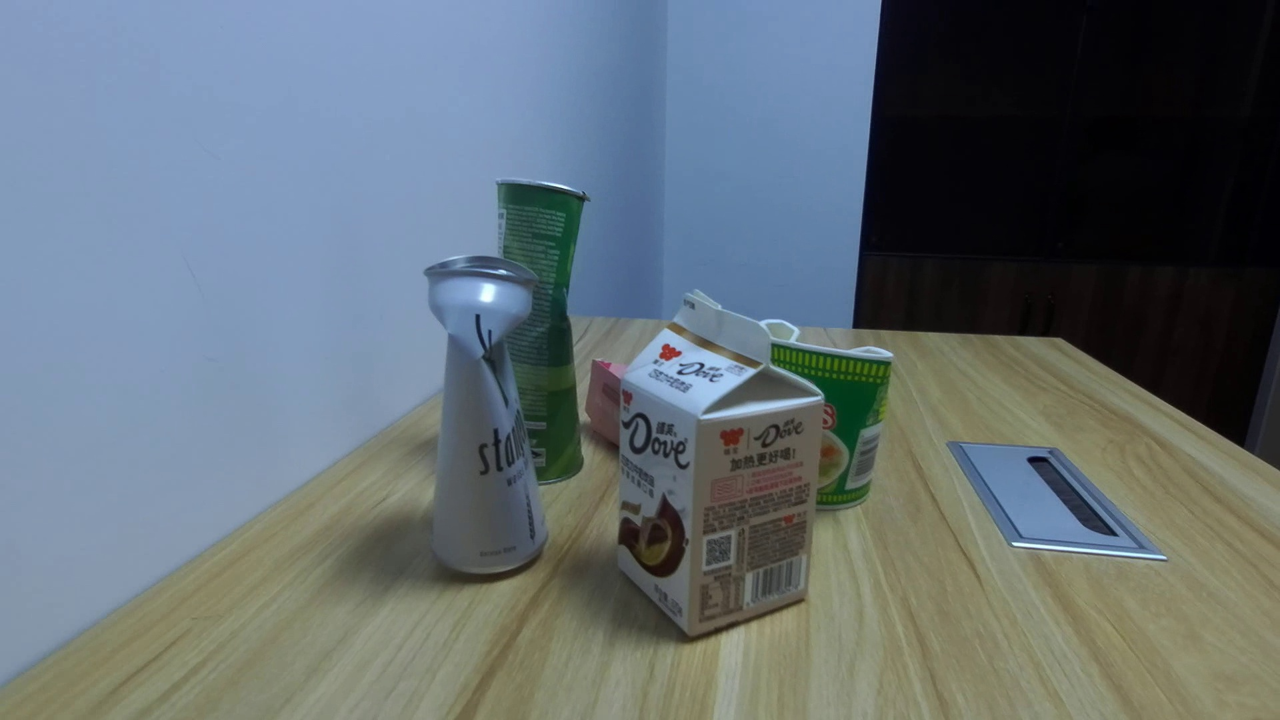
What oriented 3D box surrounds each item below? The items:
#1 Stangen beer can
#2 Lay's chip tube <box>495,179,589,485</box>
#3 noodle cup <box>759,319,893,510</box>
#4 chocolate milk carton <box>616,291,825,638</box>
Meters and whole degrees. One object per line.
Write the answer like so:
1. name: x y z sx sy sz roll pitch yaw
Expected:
1. Stangen beer can: -0.082 0.031 0.375 0.066 0.162 0.076 -15 22 -43
2. Lay's chip tube: -0.073 -0.019 0.481 0.077 0.201 0.069 7 17 13
3. noodle cup: 0.115 0.033 0.458 0.075 0.122 0.082 -7 27 4
4. chocolate milk carton: 0.038 0.044 0.347 0.074 0.148 0.075 -7 17 -28
